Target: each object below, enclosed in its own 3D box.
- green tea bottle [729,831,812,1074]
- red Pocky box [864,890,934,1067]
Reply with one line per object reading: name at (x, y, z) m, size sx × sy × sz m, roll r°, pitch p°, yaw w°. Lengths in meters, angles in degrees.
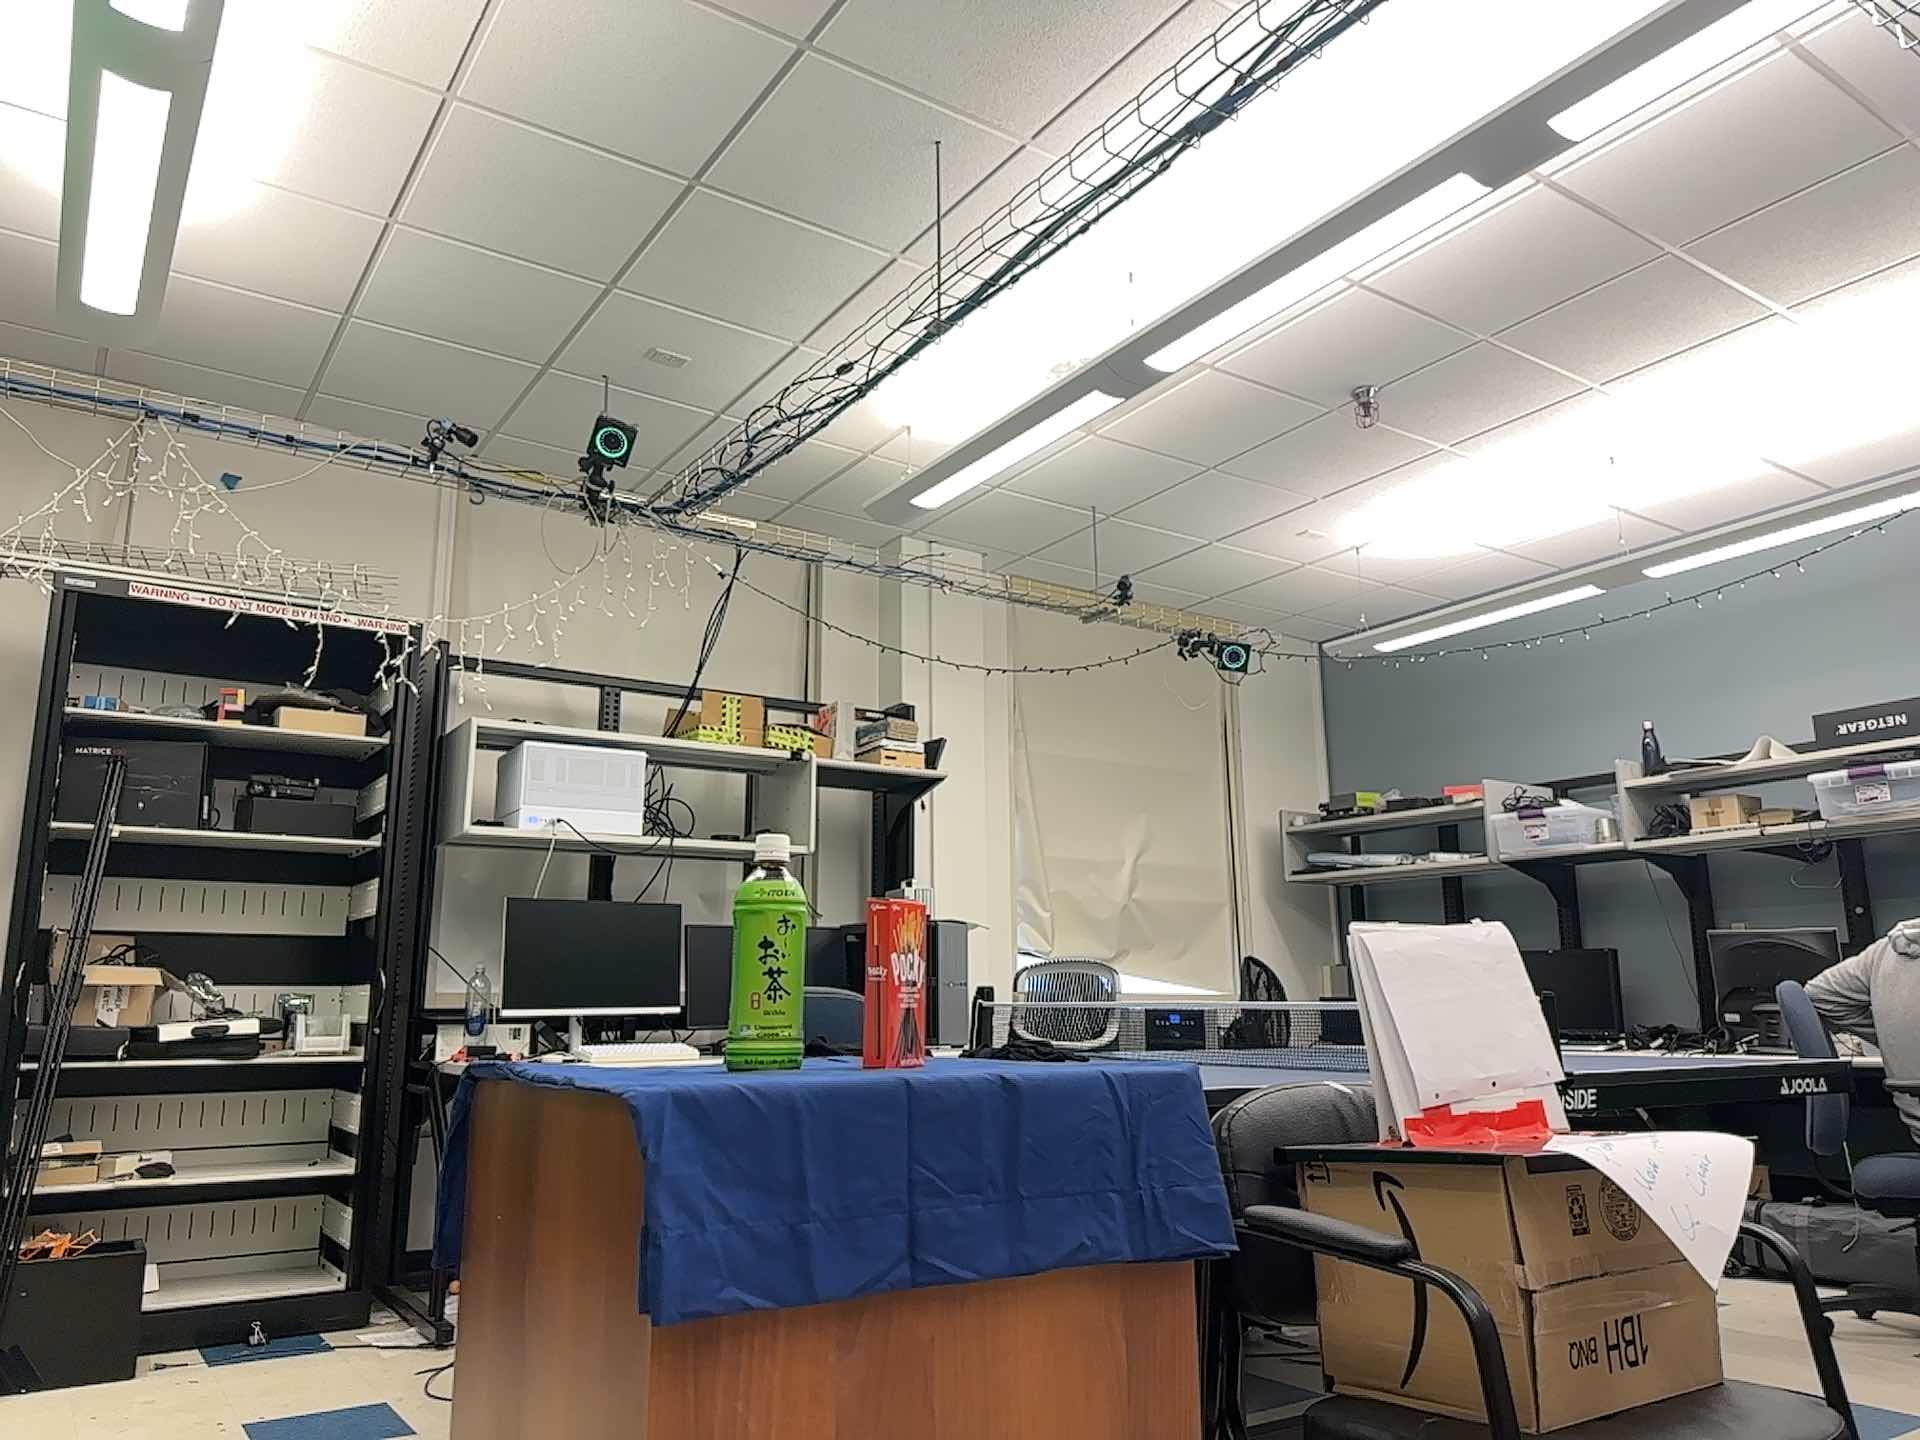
green tea bottle at (-0.169, 0.206, 1.202) m, size 0.073 × 0.212 × 0.073 m, roll -1°, pitch -11°, yaw 0°
red Pocky box at (-0.055, 0.235, 1.224) m, size 0.028 × 0.155 × 0.083 m, roll -4°, pitch -12°, yaw 27°
